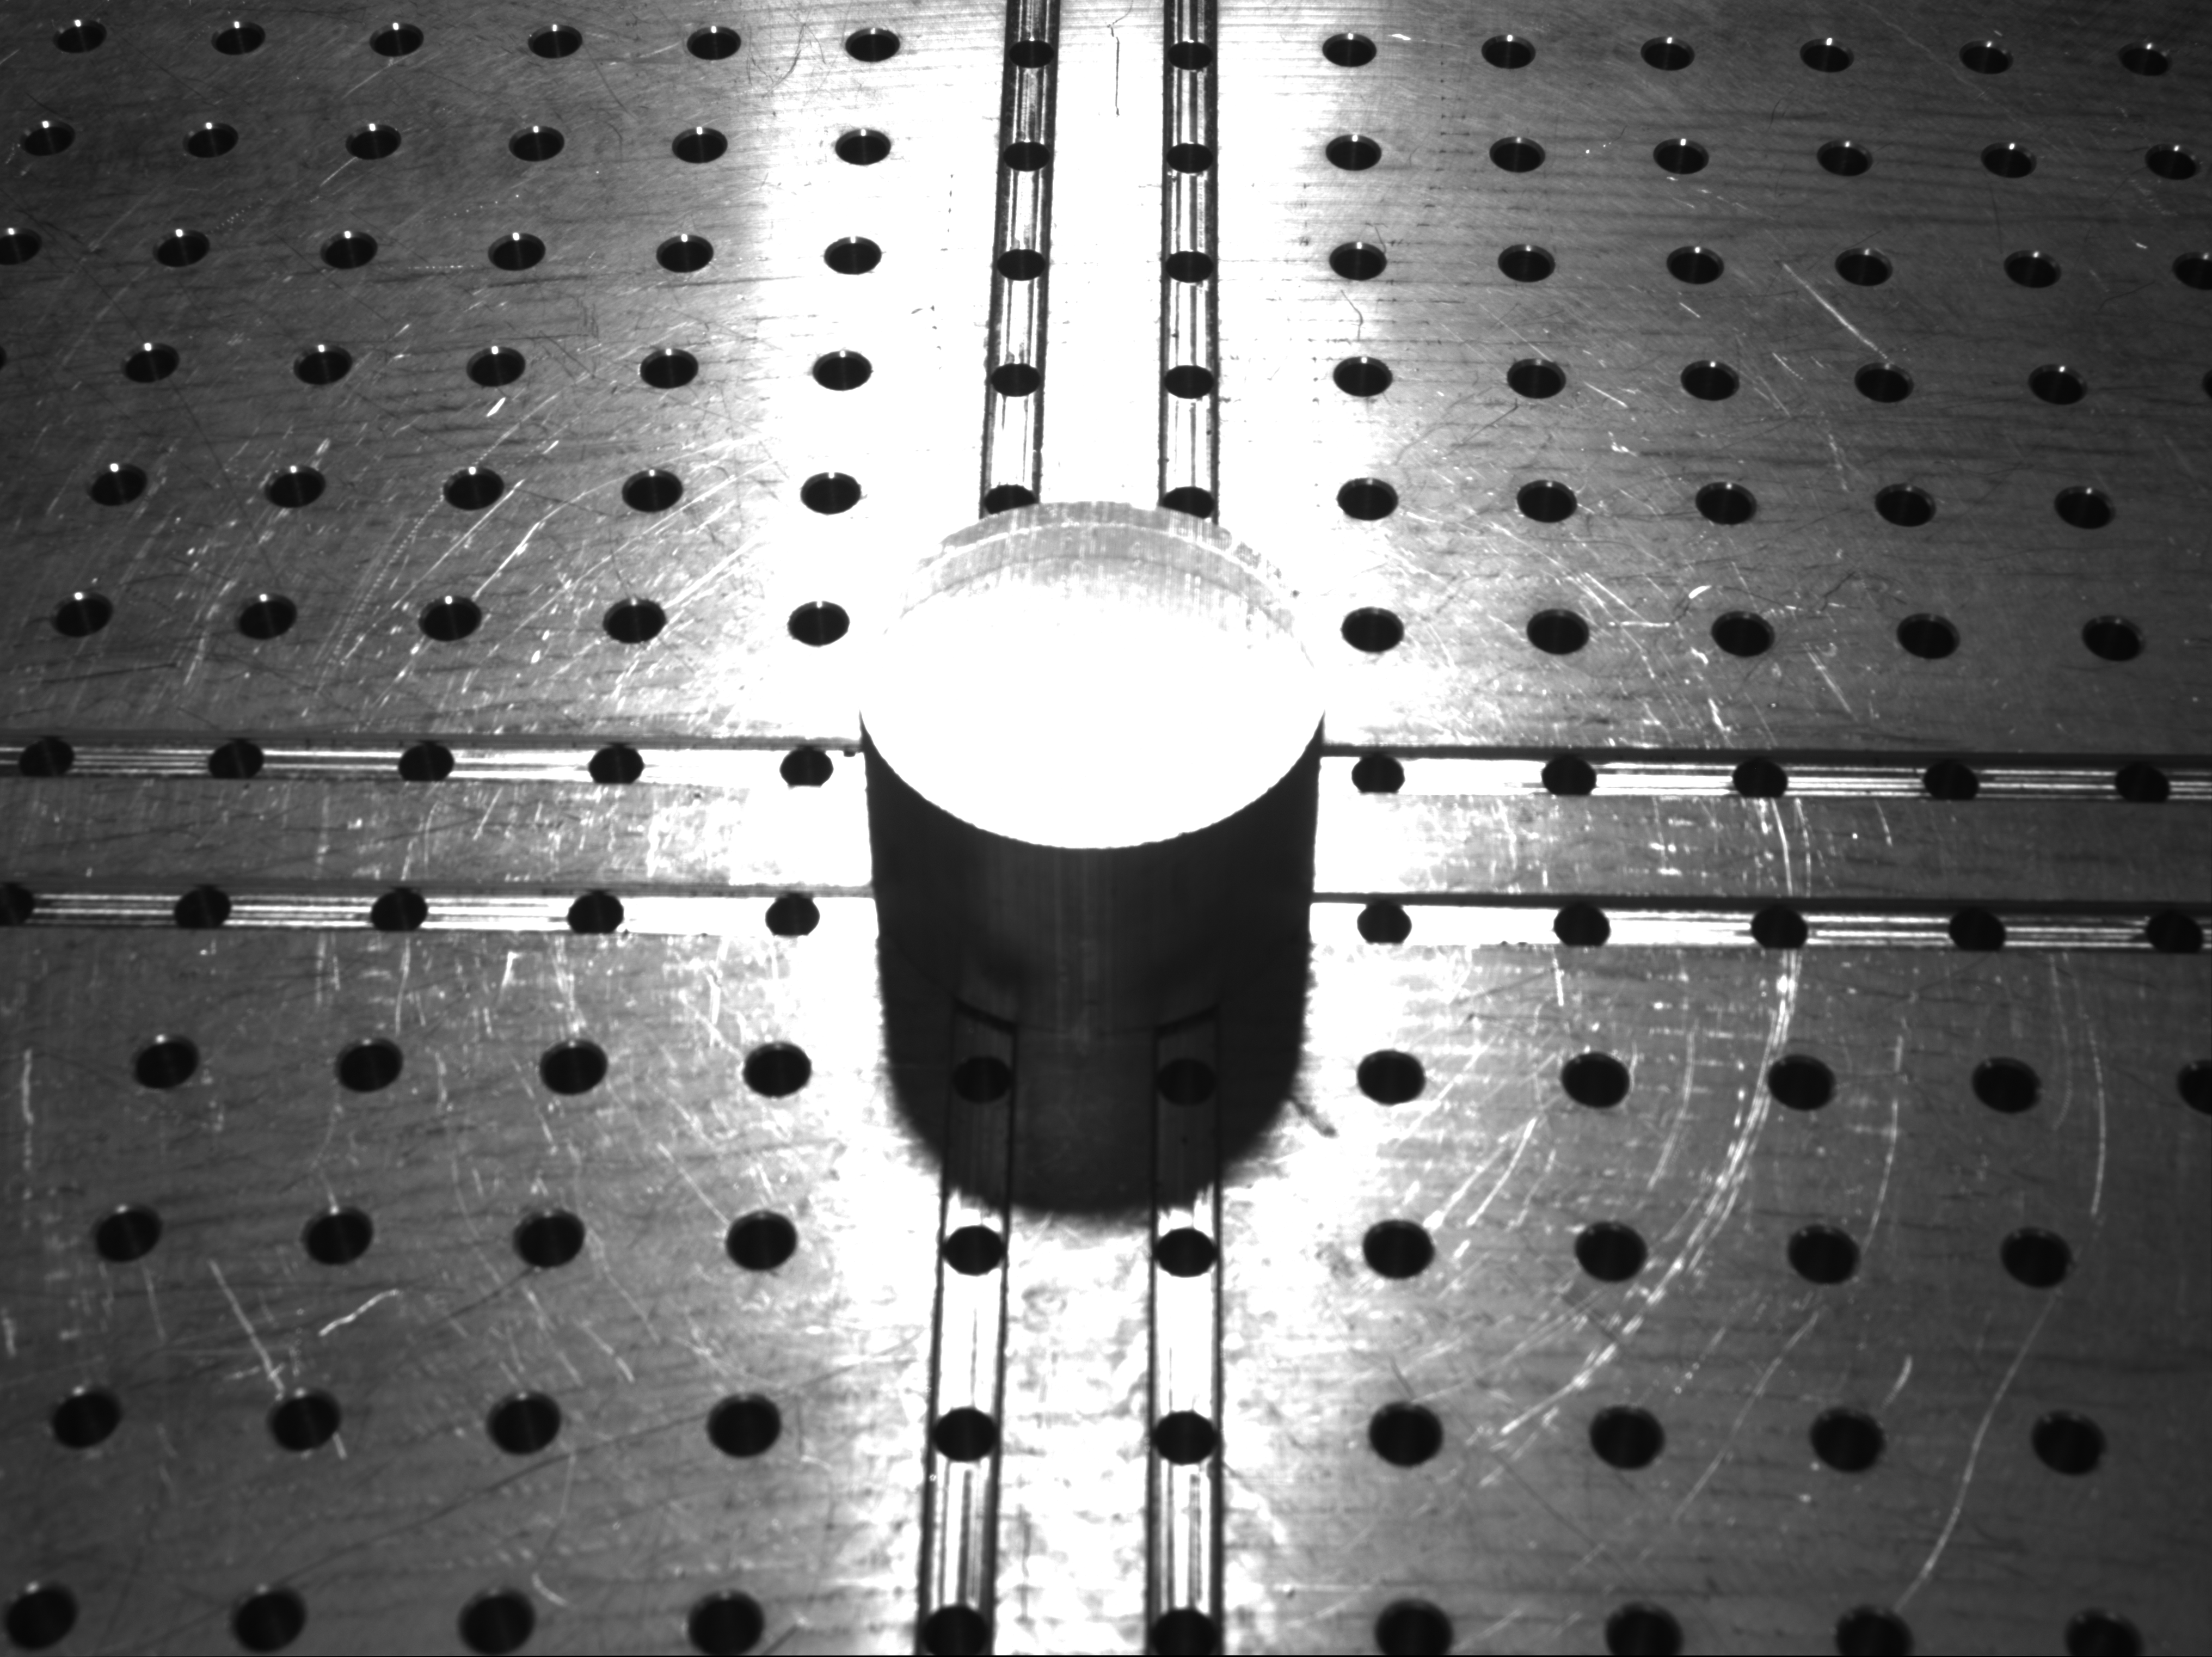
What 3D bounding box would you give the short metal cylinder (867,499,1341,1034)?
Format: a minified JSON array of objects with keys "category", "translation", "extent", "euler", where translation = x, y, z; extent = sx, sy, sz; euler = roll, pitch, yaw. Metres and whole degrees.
[{"category":"short metal cylinder","translation":[0.000,-0.011,0.638],"extent":[0.080,0.050,0.080],"euler":[0,50,0]}]
